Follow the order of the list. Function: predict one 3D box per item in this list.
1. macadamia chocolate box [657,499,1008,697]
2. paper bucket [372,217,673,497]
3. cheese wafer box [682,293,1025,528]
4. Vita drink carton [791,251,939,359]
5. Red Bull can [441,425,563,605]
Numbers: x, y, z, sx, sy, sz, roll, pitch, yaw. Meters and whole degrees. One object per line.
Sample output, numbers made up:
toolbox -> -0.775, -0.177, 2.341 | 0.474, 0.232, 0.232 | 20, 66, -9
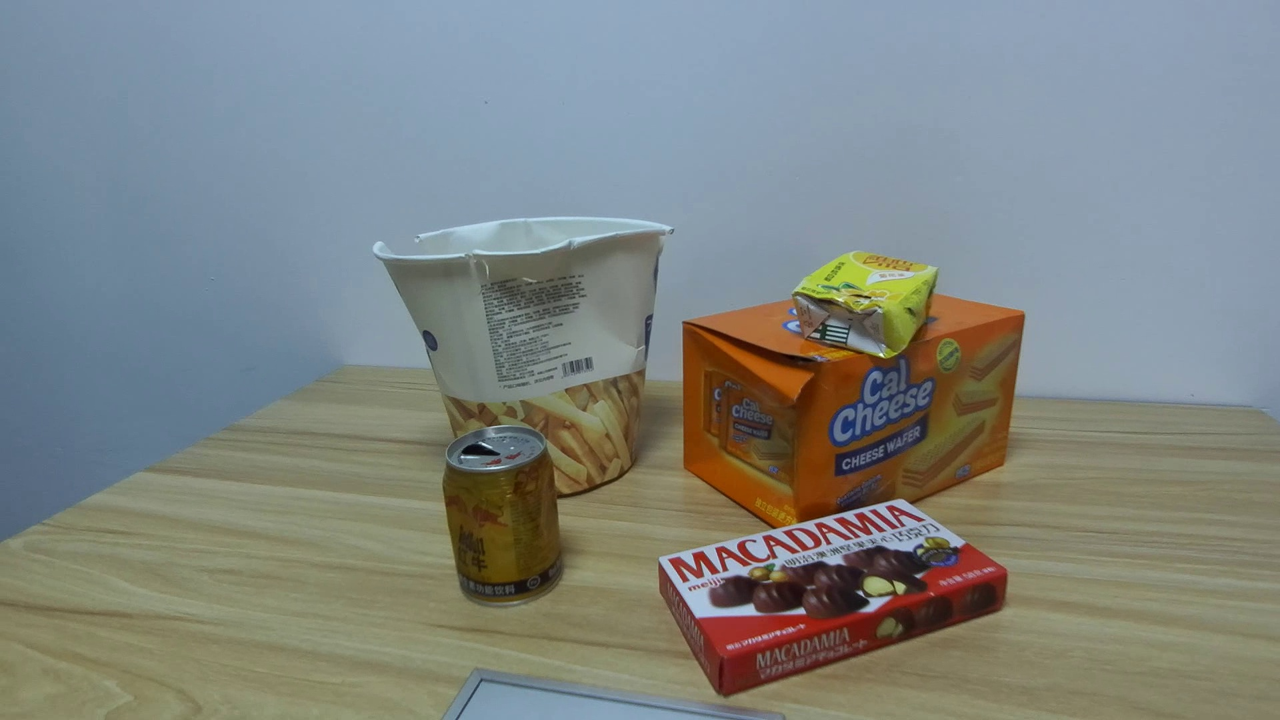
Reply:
macadamia chocolate box -> 0.109, 0.130, 0.412 | 0.178, 0.027, 0.095 | -8, 18, -16
paper bucket -> -0.084, -0.008, 0.576 | 0.203, 0.197, 0.145 | -18, 23, -39
cheese wafer box -> 0.161, 0.024, 0.551 | 0.228, 0.137, 0.149 | -12, 21, -28
Vita drink carton -> 0.157, -0.038, 0.487 | 0.086, 0.042, 0.108 | 21, 32, 33
Red Bull can -> -0.084, 0.095, 0.437 | 0.068, 0.093, 0.068 | -3, 18, 1
